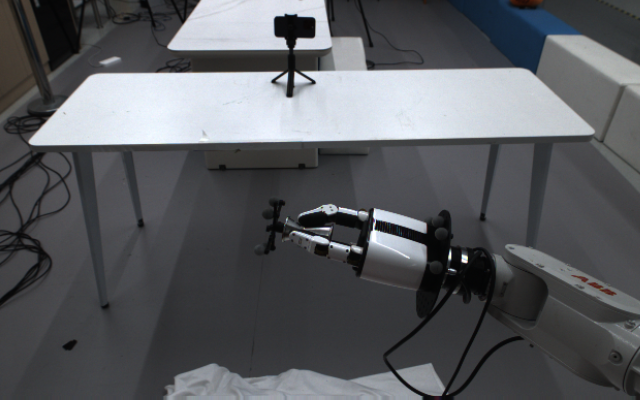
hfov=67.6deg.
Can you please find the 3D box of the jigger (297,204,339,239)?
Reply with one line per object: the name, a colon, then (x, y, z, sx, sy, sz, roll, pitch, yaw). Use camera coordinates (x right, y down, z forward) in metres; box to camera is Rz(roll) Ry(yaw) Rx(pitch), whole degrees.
jigger: (-0.011, 0.046, 0.704, 0.071, 0.043, 0.043, 12, 36, 5)
